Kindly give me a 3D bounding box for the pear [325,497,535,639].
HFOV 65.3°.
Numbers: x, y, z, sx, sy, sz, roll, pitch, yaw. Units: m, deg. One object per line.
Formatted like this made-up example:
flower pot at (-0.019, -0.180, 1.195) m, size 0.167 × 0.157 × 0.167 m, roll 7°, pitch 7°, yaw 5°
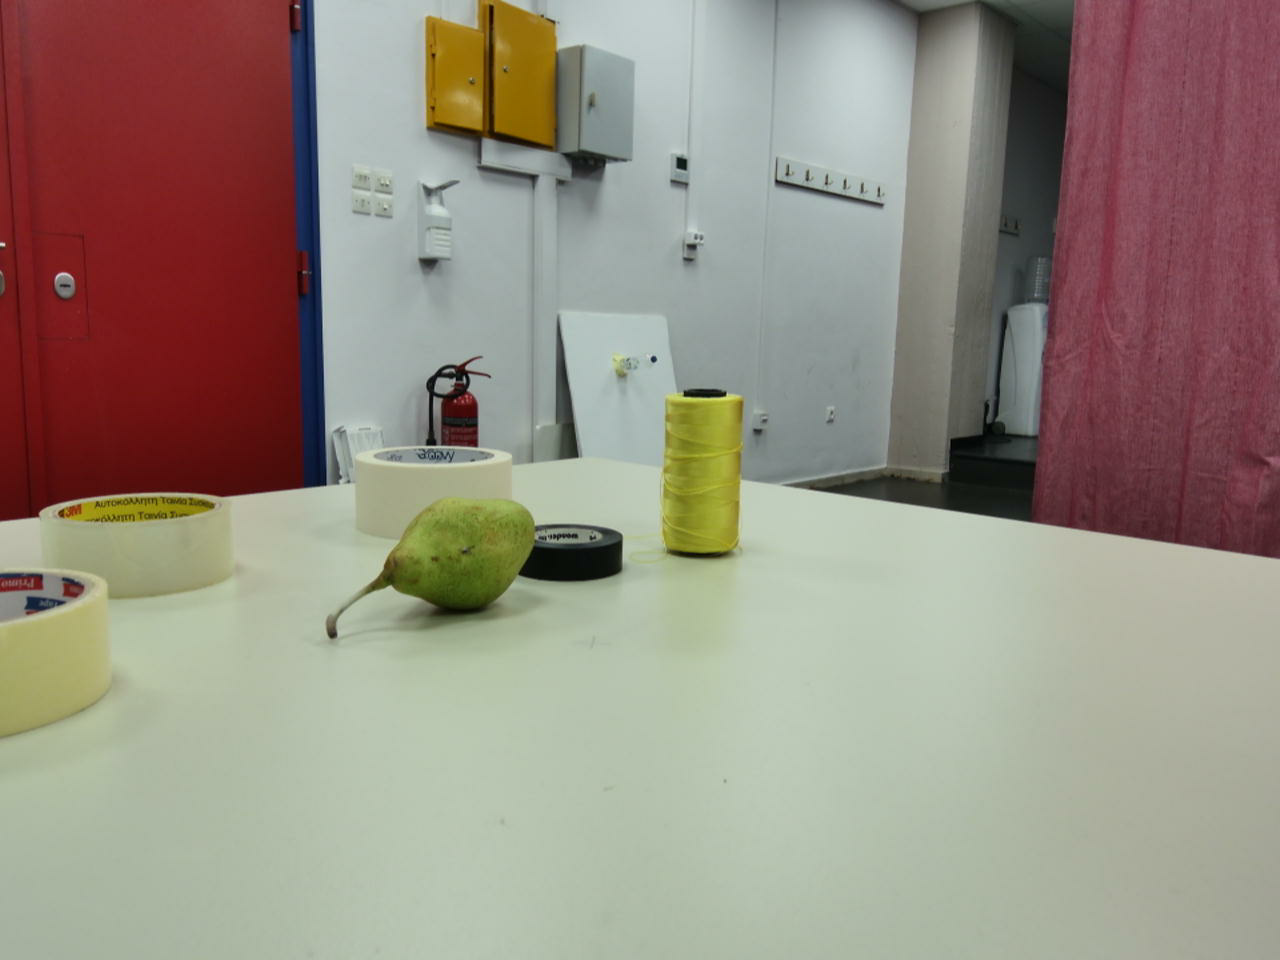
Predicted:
pear at (-0.105, 0.038, 0.488) m, size 0.111 × 0.056 × 0.056 m, roll -4°, pitch 8°, yaw -33°
